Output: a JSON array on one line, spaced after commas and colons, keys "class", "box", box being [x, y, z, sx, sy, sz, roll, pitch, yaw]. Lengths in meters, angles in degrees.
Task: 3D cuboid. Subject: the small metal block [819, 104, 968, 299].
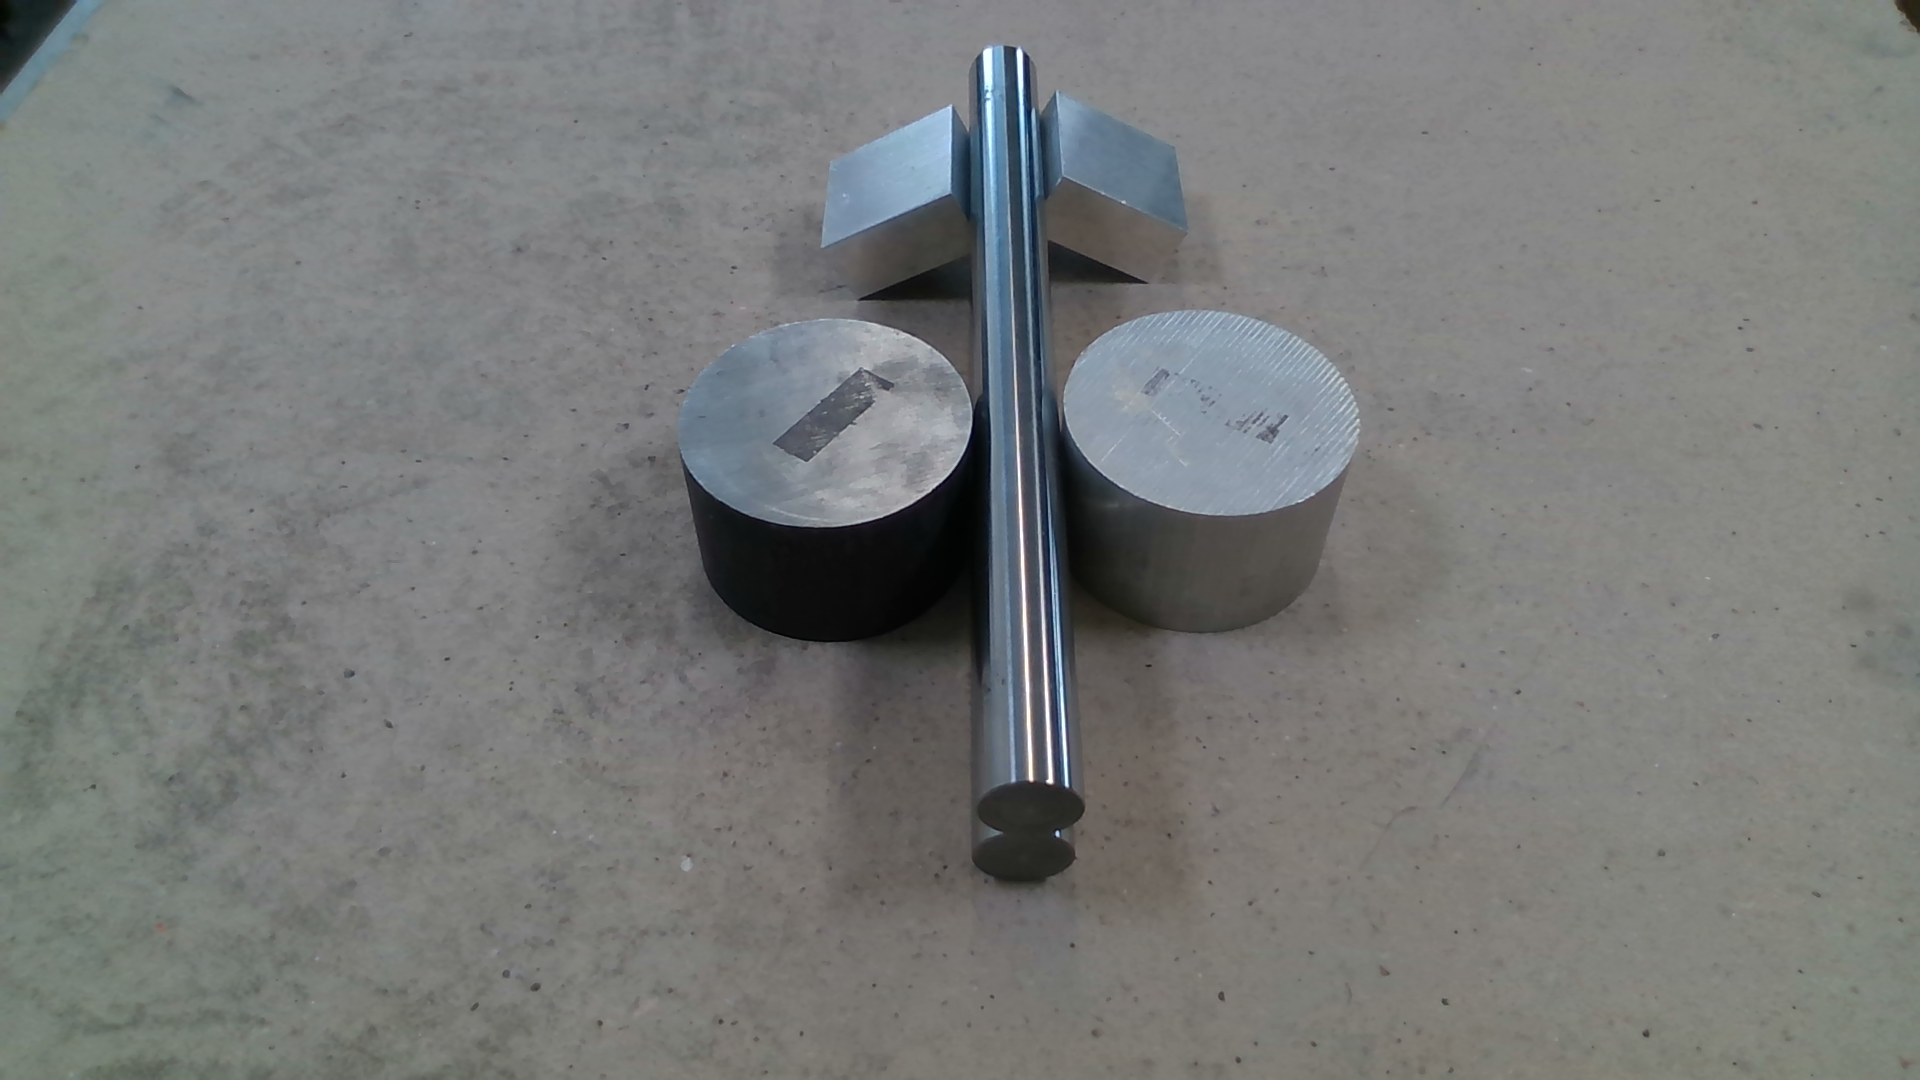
[{"class": "small metal block", "box": [-0.019, -0.118, 0.479, 0.050, 0.025, 0.050, -17, 47, 20]}]

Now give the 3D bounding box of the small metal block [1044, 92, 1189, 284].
[{"class": "small metal block", "box": [0.050, -0.124, 0.485, 0.050, 0.025, 0.050, 18, 47, -20]}]

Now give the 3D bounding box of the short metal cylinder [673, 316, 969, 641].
[{"class": "short metal cylinder", "box": [-0.038, -0.018, 0.393, 0.080, 0.050, 0.080, 0, 50, 0]}]

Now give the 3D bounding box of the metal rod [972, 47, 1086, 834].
[{"class": "metal rod", "box": [0.016, -0.054, 0.407, 0.025, 0.025, 0.299, 0, 50, 0]}]

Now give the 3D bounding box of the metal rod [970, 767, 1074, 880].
[{"class": "metal rod", "box": [0.015, -0.039, 0.426, 0.025, 0.025, 0.299, 0, 50, 0]}]

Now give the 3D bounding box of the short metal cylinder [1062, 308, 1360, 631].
[{"class": "short metal cylinder", "box": [0.068, -0.021, 0.395, 0.080, 0.050, 0.080, 0, 50, 0]}]
